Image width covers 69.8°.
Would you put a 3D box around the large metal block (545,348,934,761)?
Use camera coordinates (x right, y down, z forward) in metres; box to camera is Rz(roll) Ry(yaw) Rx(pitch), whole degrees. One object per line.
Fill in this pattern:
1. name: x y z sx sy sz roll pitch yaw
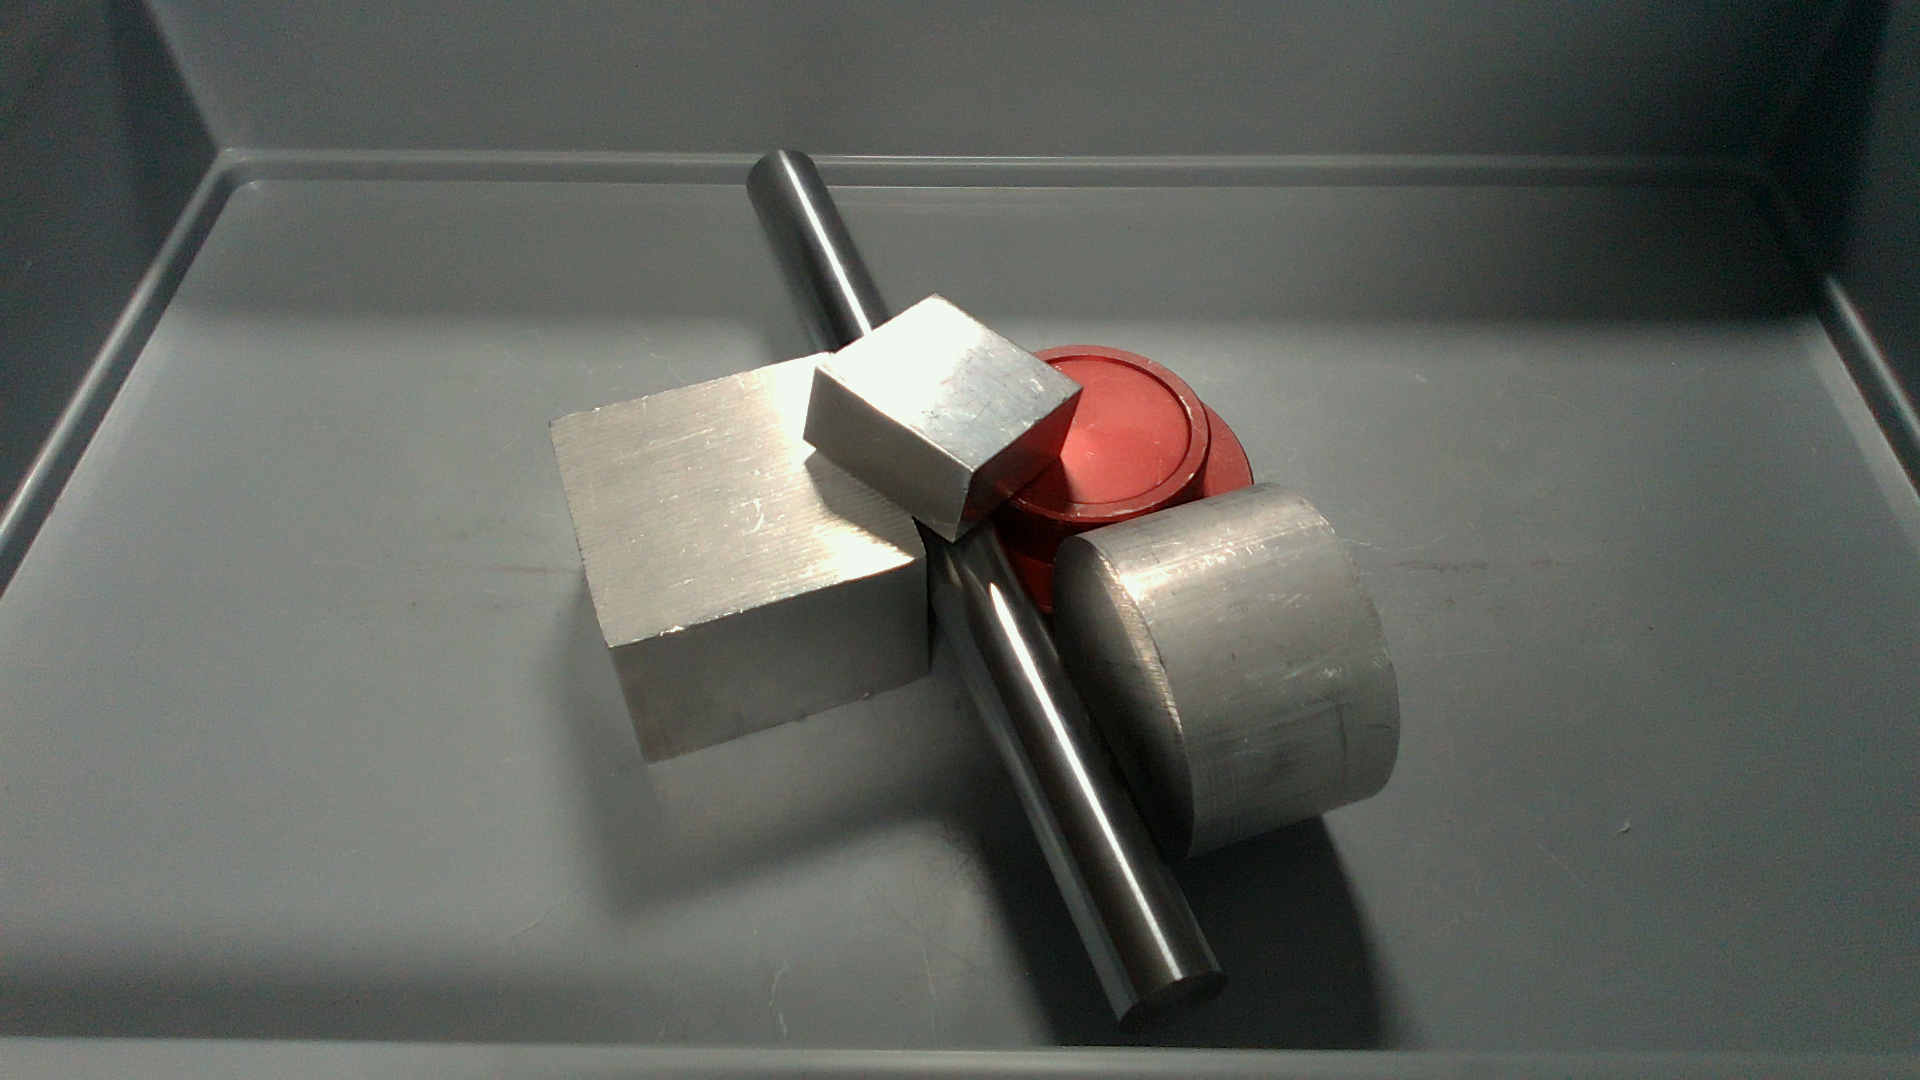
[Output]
1. large metal block: -0.059 0.002 0.369 0.080 0.050 0.080 -16 52 -13

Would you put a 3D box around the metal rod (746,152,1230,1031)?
1. metal rod: -0.008 -0.013 0.373 0.025 0.025 0.300 -16 52 -13

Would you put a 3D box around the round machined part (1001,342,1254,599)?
1. round machined part: 0.036 -0.019 0.394 0.098 0.042 0.098 0 50 0

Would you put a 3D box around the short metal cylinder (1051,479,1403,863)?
1. short metal cylinder: 0.060 0.031 0.328 0.050 0.080 0.080 -16 52 -13

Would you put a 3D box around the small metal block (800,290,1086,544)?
1. small metal block: -0.004 -0.033 0.355 0.050 0.025 0.050 35 47 18
